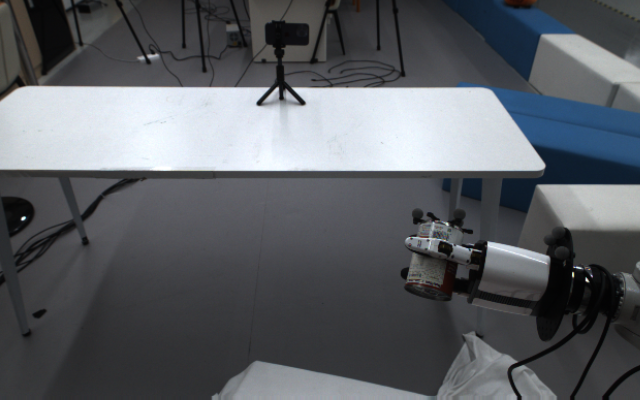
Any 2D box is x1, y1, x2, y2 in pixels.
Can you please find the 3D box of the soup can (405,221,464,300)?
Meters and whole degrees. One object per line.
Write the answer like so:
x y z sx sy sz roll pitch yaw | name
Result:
0.167 0.086 0.703 0.067 0.067 0.101 12 69 14 | soup can
